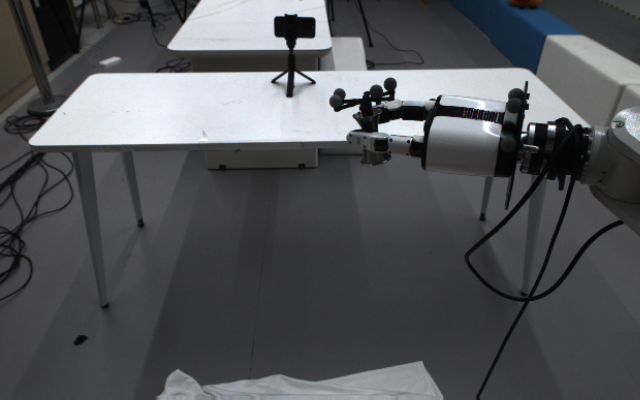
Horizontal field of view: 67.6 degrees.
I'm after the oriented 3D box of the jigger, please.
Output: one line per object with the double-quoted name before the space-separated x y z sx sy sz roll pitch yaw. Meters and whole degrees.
"jigger" 0.067 -0.088 0.663 0.043 0.071 0.043 -12 24 5
